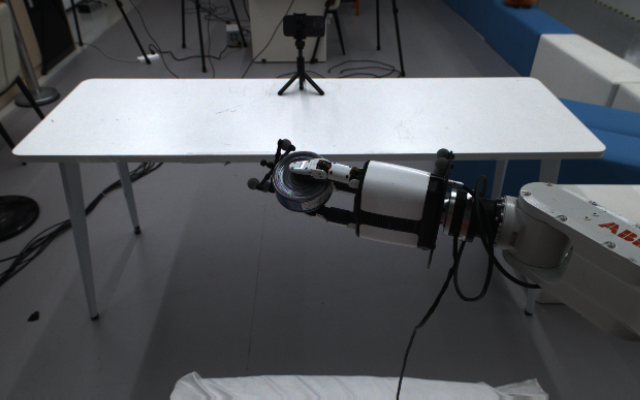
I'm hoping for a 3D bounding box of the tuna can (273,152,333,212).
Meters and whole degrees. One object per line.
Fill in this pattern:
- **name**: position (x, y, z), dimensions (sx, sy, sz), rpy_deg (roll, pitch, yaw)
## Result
- **tuna can**: position (-0.021, -0.023, 0.686), dimensions (0.085, 0.034, 0.085), rpy_deg (-1, 62, 1)
